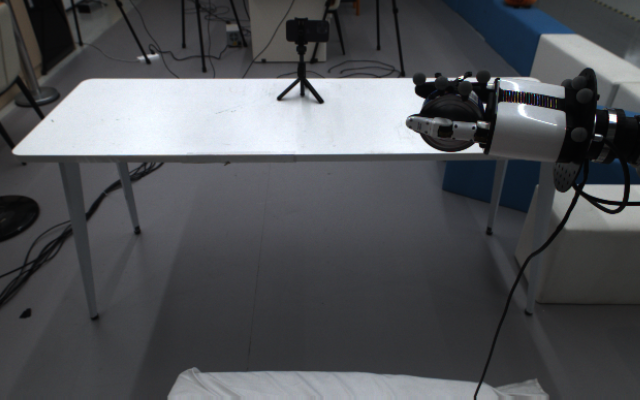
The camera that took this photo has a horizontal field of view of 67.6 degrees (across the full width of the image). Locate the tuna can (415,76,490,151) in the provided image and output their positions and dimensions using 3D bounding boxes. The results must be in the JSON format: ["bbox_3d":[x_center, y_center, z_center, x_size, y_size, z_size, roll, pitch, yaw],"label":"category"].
[{"bbox_3d":[0.179,-0.112,0.657,0.085,0.085,0.034,12,39,13],"label":"tuna can"}]
